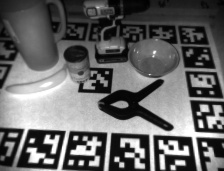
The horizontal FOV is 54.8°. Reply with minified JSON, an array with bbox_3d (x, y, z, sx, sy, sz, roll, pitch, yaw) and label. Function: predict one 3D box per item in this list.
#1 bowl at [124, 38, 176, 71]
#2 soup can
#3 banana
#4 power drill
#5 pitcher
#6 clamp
[{"bbox_3d":[0.118,-0.100,0.696,0.161,0.055,0.161,-1,58,2],"label":"bowl"},{"bbox_3d":[-0.112,-0.090,0.668,0.068,0.102,0.067,-1,48,2],"label":"soup can"},{"bbox_3d":[-0.239,-0.036,0.674,0.198,0.039,0.073,-18,49,-12],"label":"banana"},{"bbox_3d":[0.010,-0.200,0.663,0.184,0.188,0.057,-2,56,0],"label":"power drill"},{"bbox_3d":[-0.231,-0.187,0.649,0.189,0.244,0.132,-18,54,-9],"label":"pitcher"},{"bbox_3d":[0.046,0.030,0.614,0.202,0.037,0.165,1,60,2],"label":"clamp"}]
